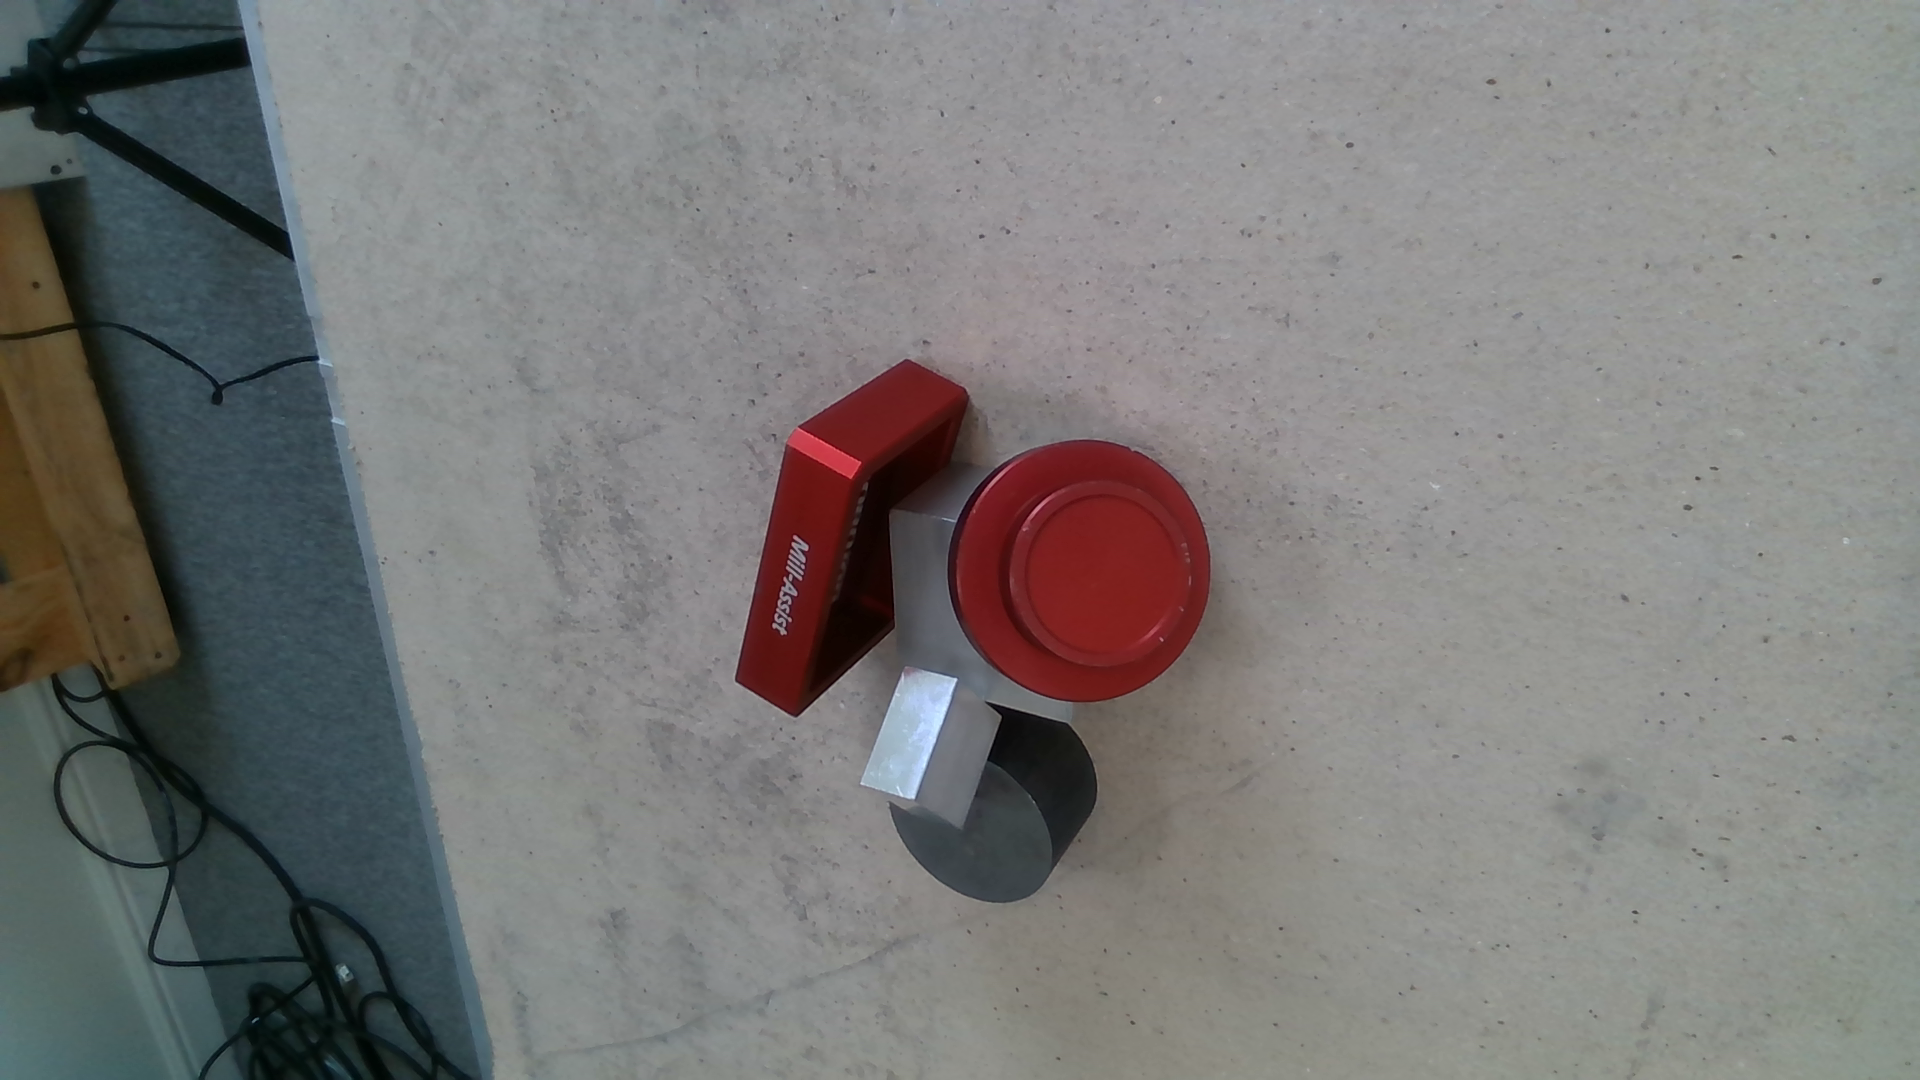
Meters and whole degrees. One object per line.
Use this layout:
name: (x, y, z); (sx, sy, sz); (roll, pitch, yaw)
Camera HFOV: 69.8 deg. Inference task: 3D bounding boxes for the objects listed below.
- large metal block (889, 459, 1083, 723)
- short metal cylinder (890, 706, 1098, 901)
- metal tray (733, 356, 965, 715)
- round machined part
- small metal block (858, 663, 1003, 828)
large metal block: (0.020, 0.019, 0.564); (0.080, 0.050, 0.080); (13, 121, 26)
short metal cylinder: (0.015, 0.114, 0.619); (0.080, 0.050, 0.080); (14, 122, 25)
metal tray: (-0.045, -0.001, 0.565); (0.030, 0.090, 0.130); (29, 127, 15)
round machined part: (0.046, 0.011, 0.510); (0.098, 0.098, 0.042); (58, 173, -8)
small metal block: (-0.011, 0.084, 0.558); (0.025, 0.050, 0.050); (12, 162, 29)
